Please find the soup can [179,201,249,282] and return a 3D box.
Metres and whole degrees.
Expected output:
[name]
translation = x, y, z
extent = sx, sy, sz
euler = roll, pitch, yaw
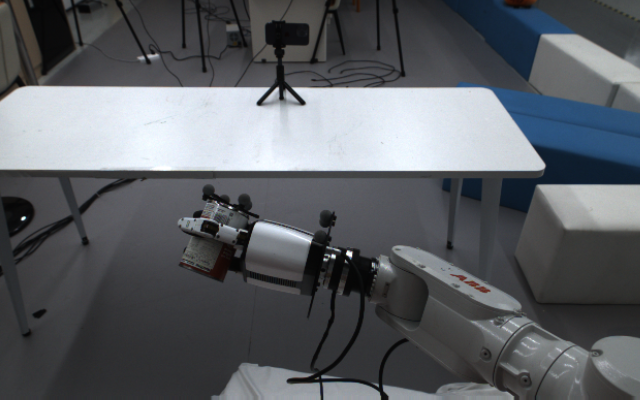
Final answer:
[soup can]
translation = -0.149, 0.061, 0.693
extent = 0.067, 0.067, 0.101
euler = 16, 76, 20
